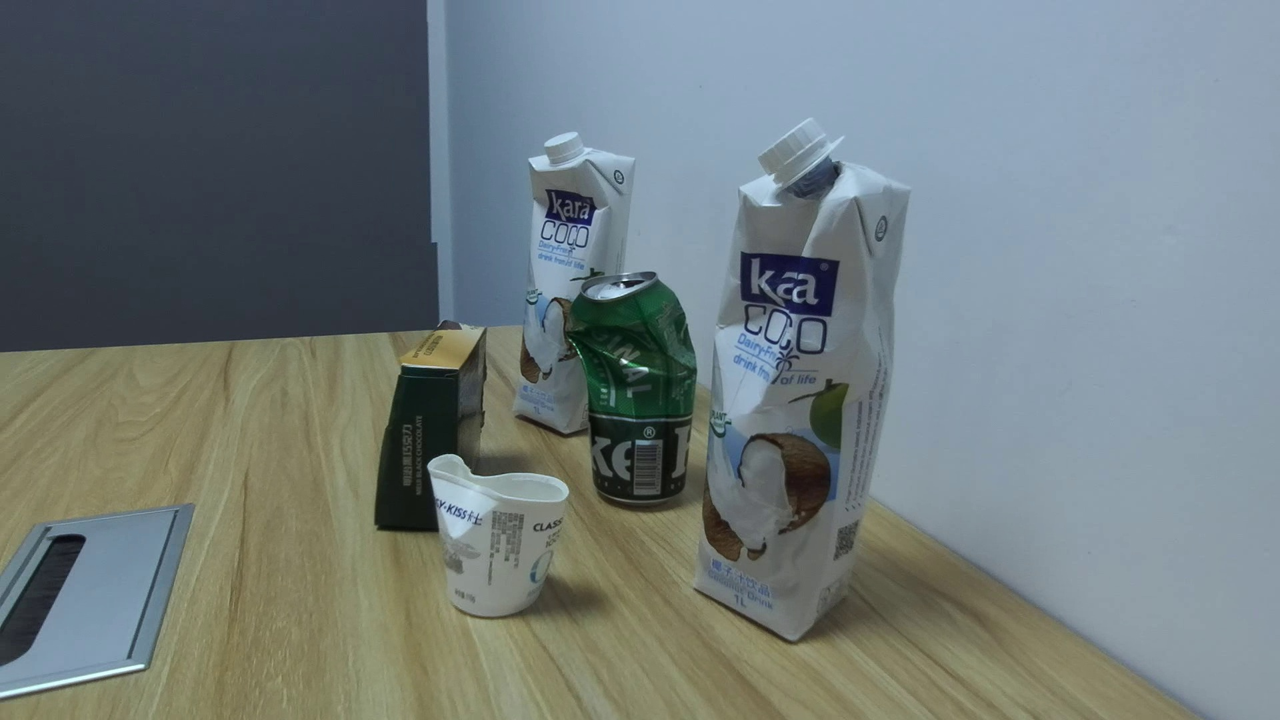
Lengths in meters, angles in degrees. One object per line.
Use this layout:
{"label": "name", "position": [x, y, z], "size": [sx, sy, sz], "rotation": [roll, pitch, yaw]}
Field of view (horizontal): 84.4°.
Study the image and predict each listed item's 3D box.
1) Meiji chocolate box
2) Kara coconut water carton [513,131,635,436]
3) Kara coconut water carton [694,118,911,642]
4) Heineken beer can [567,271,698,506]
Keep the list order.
{"label": "Meiji chocolate box", "position": [-0.139, 0.039, 0.478], "size": [0.058, 0.110, 0.113], "rotation": [5, 17, -6]}
{"label": "Kara coconut water carton", "position": [-0.055, -0.064, 0.602], "size": [0.099, 0.244, 0.071], "rotation": [13, 16, 37]}
{"label": "Kara coconut water carton", "position": [0.079, 0.012, 0.365], "size": [0.079, 0.255, 0.083], "rotation": [-12, 23, -35]}
{"label": "Heineken beer can", "position": [-0.001, 0.021, 0.493], "size": [0.079, 0.159, 0.067], "rotation": [-11, 16, -18]}
